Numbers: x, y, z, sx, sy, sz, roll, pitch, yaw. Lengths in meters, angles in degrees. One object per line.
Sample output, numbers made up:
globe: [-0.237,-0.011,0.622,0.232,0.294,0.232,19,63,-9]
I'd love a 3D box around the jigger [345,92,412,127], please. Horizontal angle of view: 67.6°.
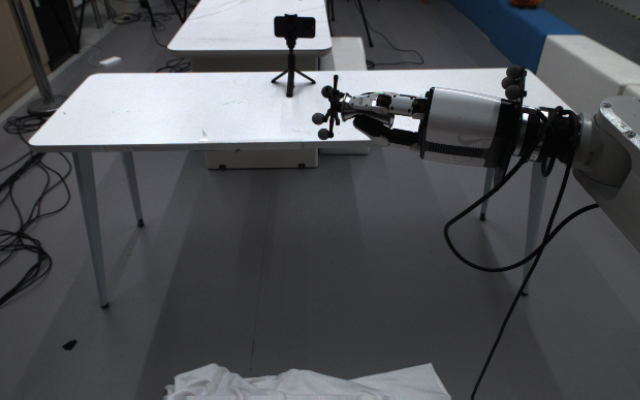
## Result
jigger: [0.074,-0.130,0.668,0.071,0.043,0.043,8,35,16]
